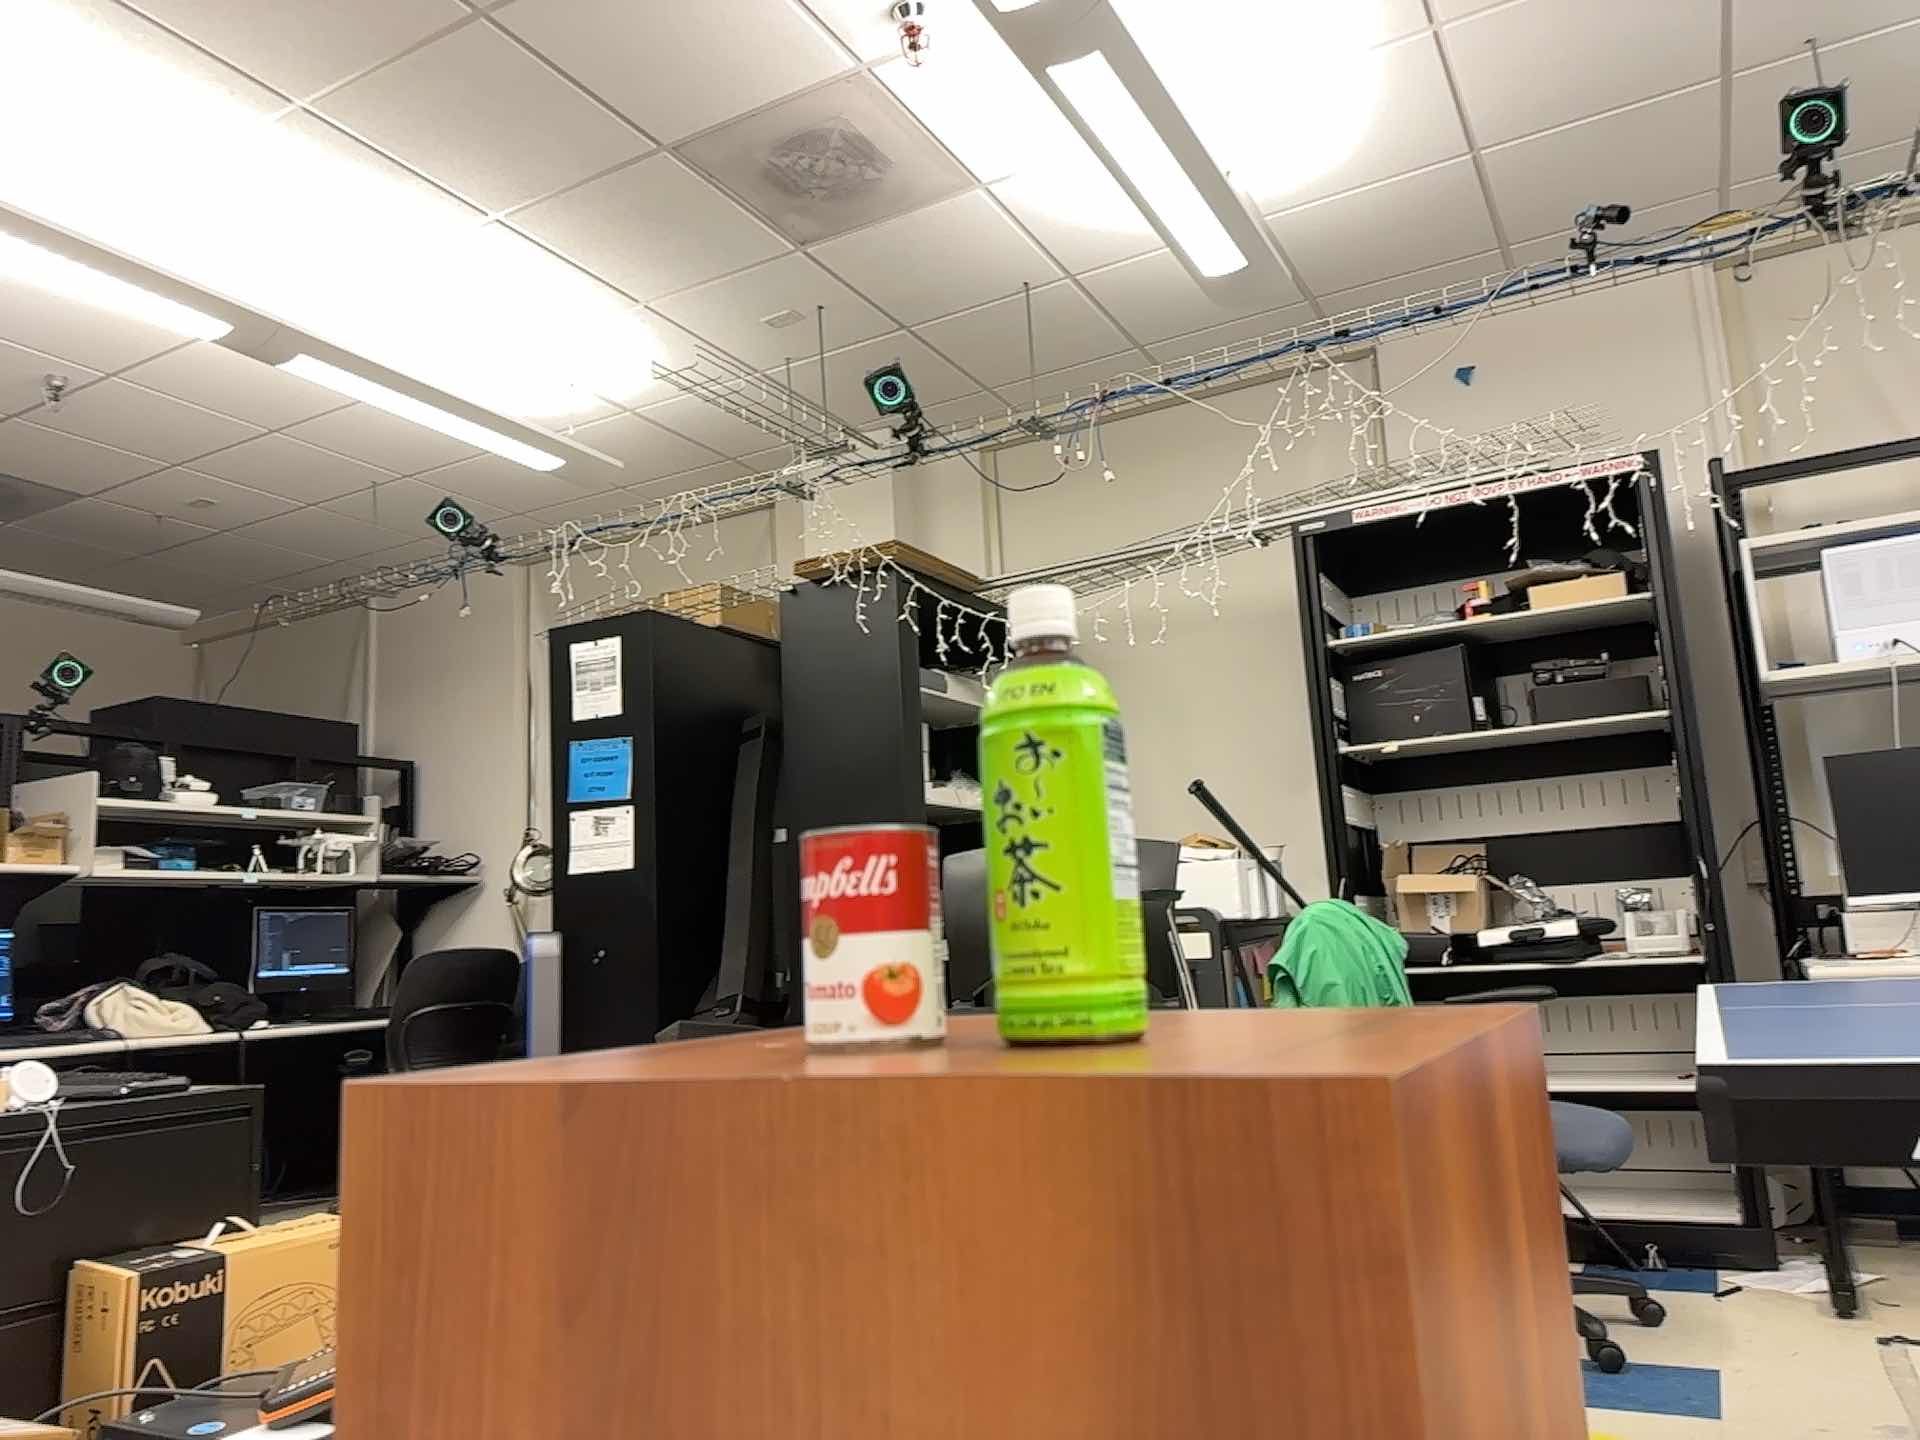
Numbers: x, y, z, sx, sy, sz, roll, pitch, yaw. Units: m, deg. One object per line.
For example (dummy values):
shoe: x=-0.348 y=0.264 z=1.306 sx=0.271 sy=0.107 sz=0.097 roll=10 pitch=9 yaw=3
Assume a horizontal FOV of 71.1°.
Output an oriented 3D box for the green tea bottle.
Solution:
green tea bottle: x=0.046 y=0.046 z=0.616 sx=0.073 sy=0.212 sz=0.073 roll=-6 pitch=-12 yaw=-1

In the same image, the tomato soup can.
tomato soup can: x=-0.042 y=0.107 z=0.639 sx=0.067 sy=0.102 sz=0.067 roll=-4 pitch=-11 yaw=-1
